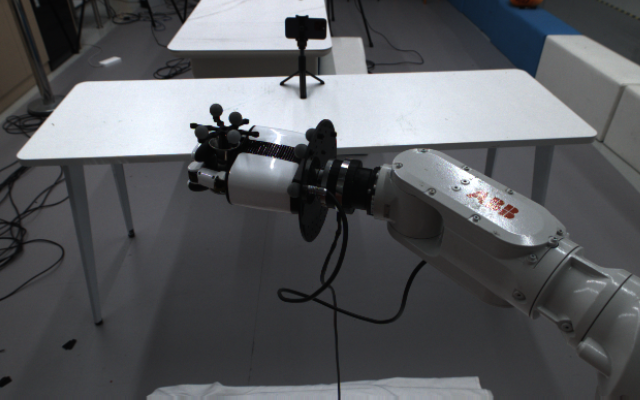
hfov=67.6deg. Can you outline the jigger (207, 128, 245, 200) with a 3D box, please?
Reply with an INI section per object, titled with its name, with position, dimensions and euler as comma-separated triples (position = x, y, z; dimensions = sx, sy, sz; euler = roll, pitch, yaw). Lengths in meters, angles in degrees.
[jigger]
position = -0.126, -0.046, 0.650
dimensions = 0.043, 0.071, 0.043
euler = 6, 32, -4
